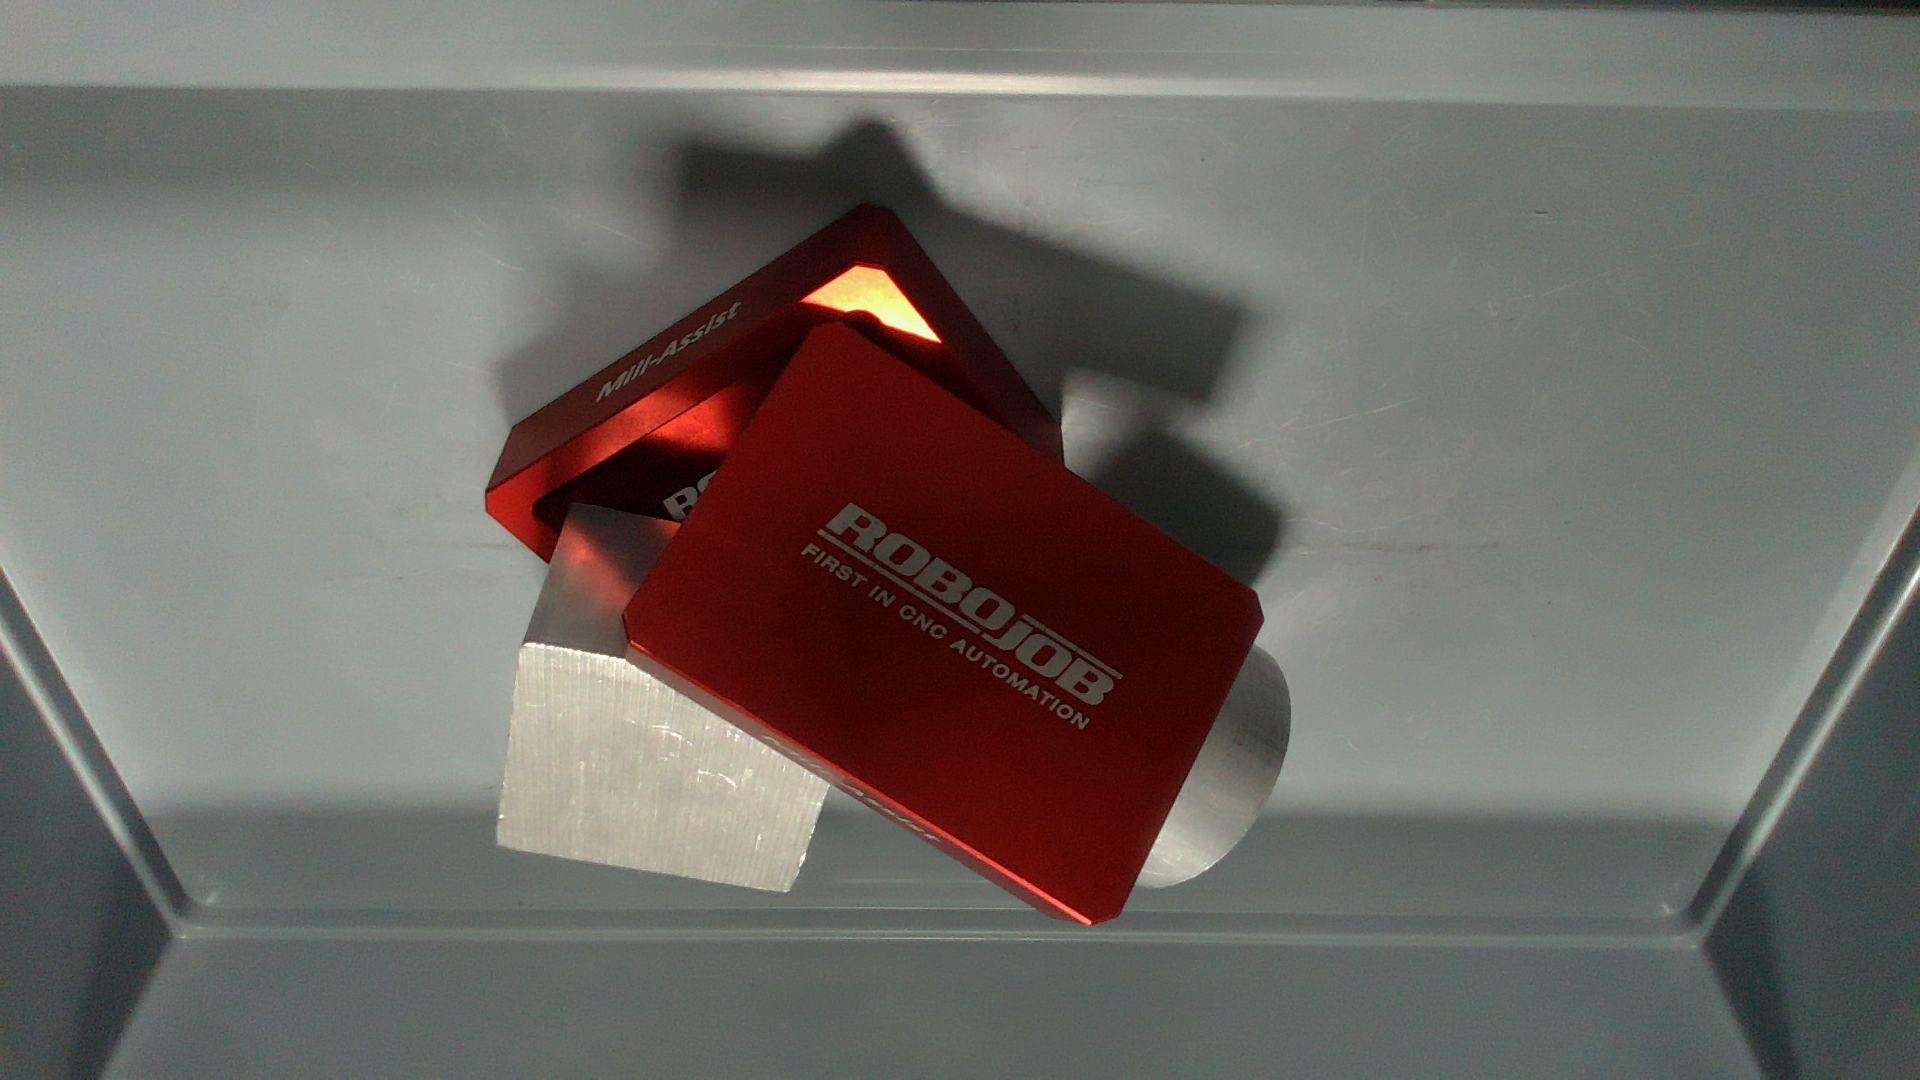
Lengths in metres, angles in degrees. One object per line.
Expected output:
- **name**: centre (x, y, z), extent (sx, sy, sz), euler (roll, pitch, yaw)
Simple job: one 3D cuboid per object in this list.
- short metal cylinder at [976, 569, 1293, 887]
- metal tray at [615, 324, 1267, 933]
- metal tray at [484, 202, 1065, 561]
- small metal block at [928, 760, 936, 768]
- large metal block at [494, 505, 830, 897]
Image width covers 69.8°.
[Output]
- **short metal cylinder**: centre (0.049, 0.053, 0.399), extent (0.050, 0.080, 0.080), euler (32, 123, -24)
- **metal tray**: centre (-0.003, 0.022, 0.326), extent (0.130, 0.090, 0.030), euler (32, 163, -8)
- **metal tray**: centre (-0.048, -0.019, 0.369), extent (0.130, 0.030, 0.090), euler (-27, 125, 21)
- **small metal block**: centre (-0.019, 0.052, 0.433), extent (0.050, 0.025, 0.050), euler (-23, 126, 18)
- **large metal block**: centre (-0.075, 0.045, 0.368), extent (0.080, 0.050, 0.080), euler (12, 129, -11)
